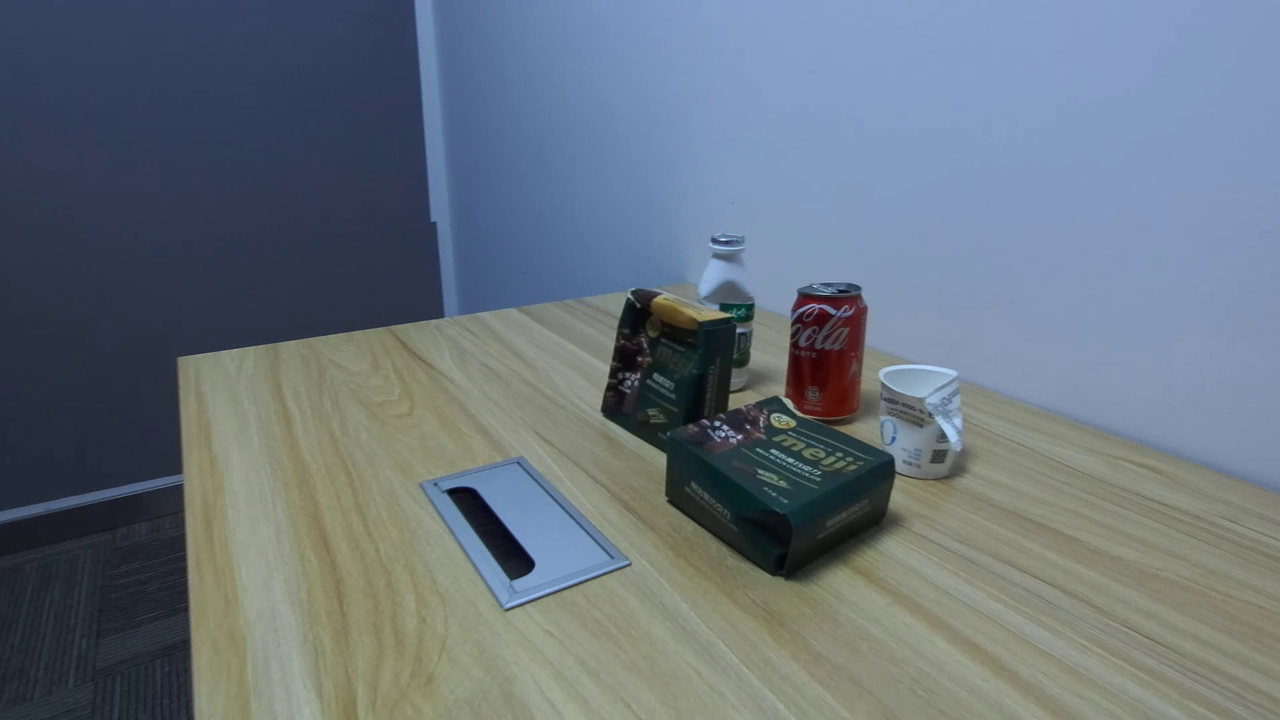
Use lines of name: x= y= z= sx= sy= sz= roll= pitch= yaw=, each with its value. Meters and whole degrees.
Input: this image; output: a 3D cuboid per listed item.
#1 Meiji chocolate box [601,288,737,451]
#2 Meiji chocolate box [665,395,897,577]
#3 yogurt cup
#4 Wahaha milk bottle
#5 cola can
Meiji chocolate box: x=0.024 y=0.007 z=0.580 sx=0.052 sy=0.117 sz=0.116 roll=-5 pitch=20 yaw=-37
Meiji chocolate box: x=0.091 y=0.080 z=0.468 sx=0.123 sy=0.058 sz=0.115 roll=-15 pitch=27 yaw=-34
yogurt cup: x=0.210 y=0.047 z=0.534 sx=0.067 sy=0.070 sz=0.067 roll=-1 pitch=22 yaw=1
Wahaha milk bottle: x=0.082 y=-0.044 z=0.673 sx=0.056 sy=0.148 sz=0.056 roll=-1 pitch=22 yaw=1
cola can: x=0.163 y=-0.008 z=0.616 sx=0.072 sy=0.117 sz=0.065 roll=-18 pitch=29 yaw=-38
